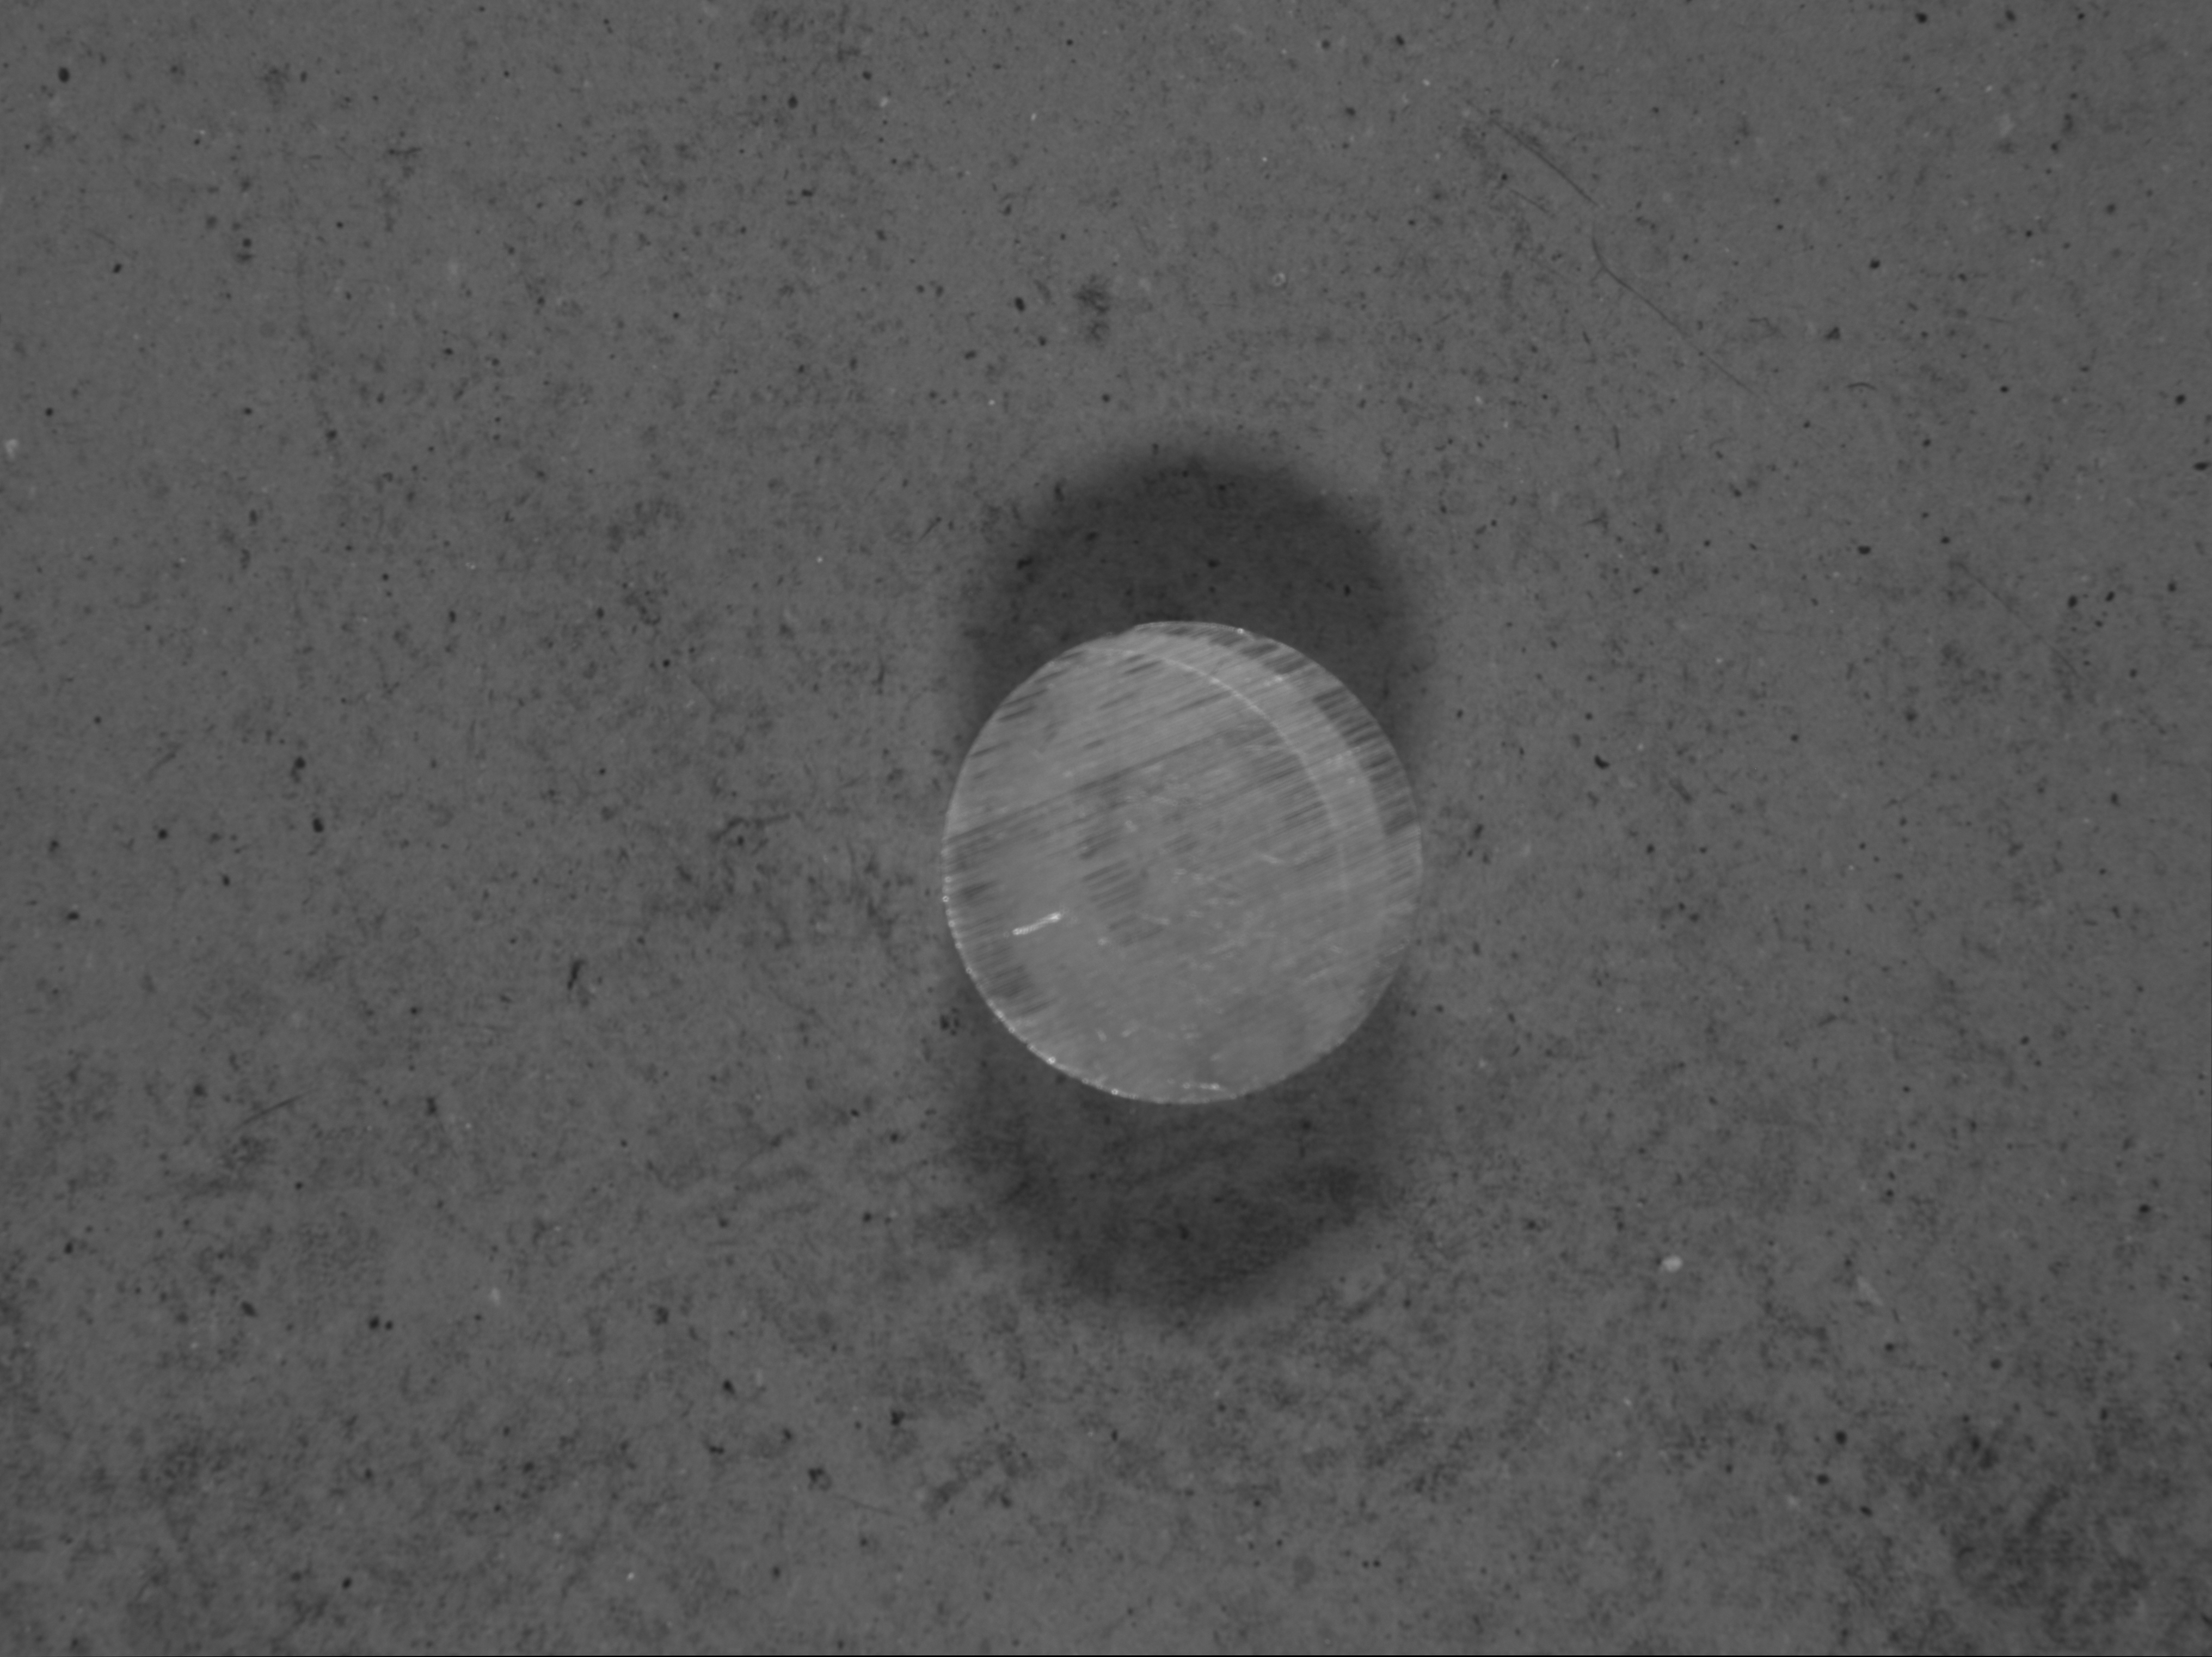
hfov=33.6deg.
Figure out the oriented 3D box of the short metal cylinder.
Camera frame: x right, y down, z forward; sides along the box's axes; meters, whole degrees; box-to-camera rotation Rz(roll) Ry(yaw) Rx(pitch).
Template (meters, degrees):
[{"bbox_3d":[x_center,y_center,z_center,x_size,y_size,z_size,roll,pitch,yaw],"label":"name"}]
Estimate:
[{"bbox_3d":[0.012,0.006,0.633,0.080,0.050,0.080,0,90,0],"label":"short metal cylinder"}]
